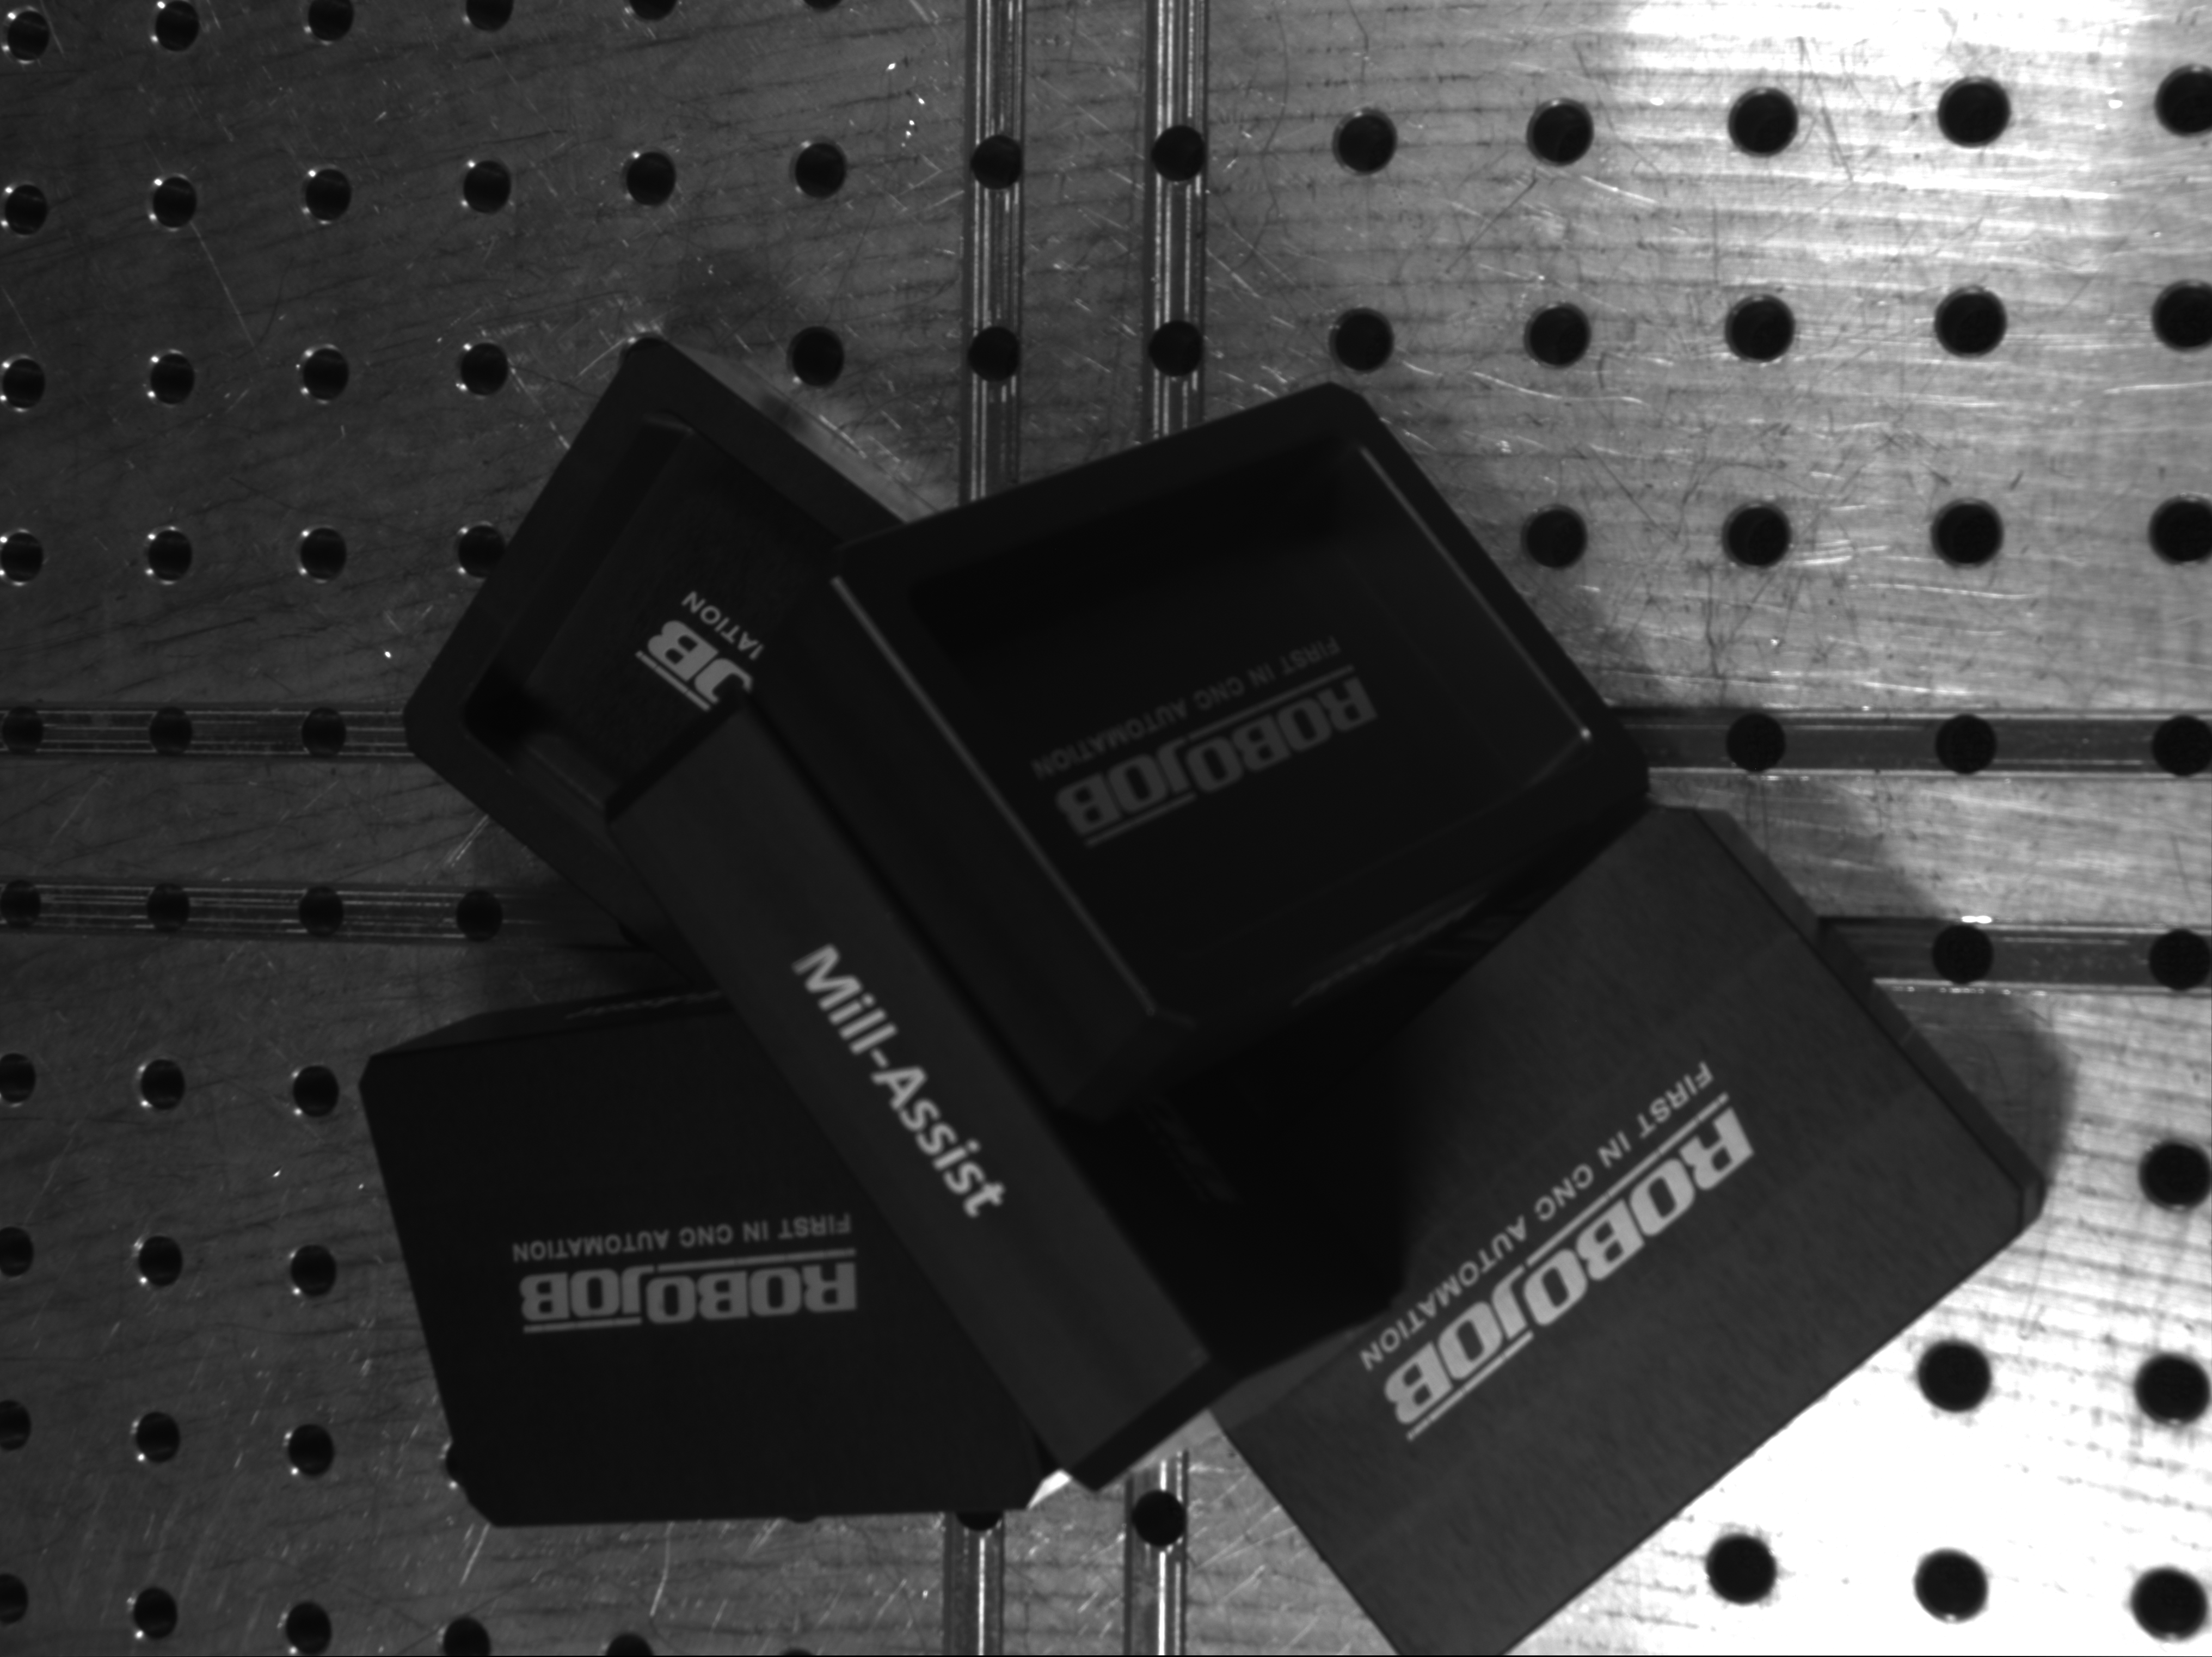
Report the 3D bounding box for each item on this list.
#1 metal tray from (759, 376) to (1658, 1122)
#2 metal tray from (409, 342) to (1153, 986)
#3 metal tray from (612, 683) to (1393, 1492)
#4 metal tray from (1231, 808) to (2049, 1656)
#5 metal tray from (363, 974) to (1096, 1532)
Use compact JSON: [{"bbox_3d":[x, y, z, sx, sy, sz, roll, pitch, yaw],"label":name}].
[{"bbox_3d":[0.020,-0.017,0.584,0.090,0.130,0.030,53,134,12],"label":"metal tray"},{"bbox_3d":[-0.052,-0.016,0.663,0.130,0.030,0.090,38,102,16],"label":"metal tray"},{"bbox_3d":[-0.014,0.038,0.585,0.030,0.090,0.130,-40,77,15],"label":"metal tray"},{"bbox_3d":[0.080,0.070,0.614,0.130,0.030,0.090,-43,77,15],"label":"metal tray"},{"bbox_3d":[-0.065,0.074,0.642,0.130,0.030,0.090,-9,97,34],"label":"metal tray"}]
